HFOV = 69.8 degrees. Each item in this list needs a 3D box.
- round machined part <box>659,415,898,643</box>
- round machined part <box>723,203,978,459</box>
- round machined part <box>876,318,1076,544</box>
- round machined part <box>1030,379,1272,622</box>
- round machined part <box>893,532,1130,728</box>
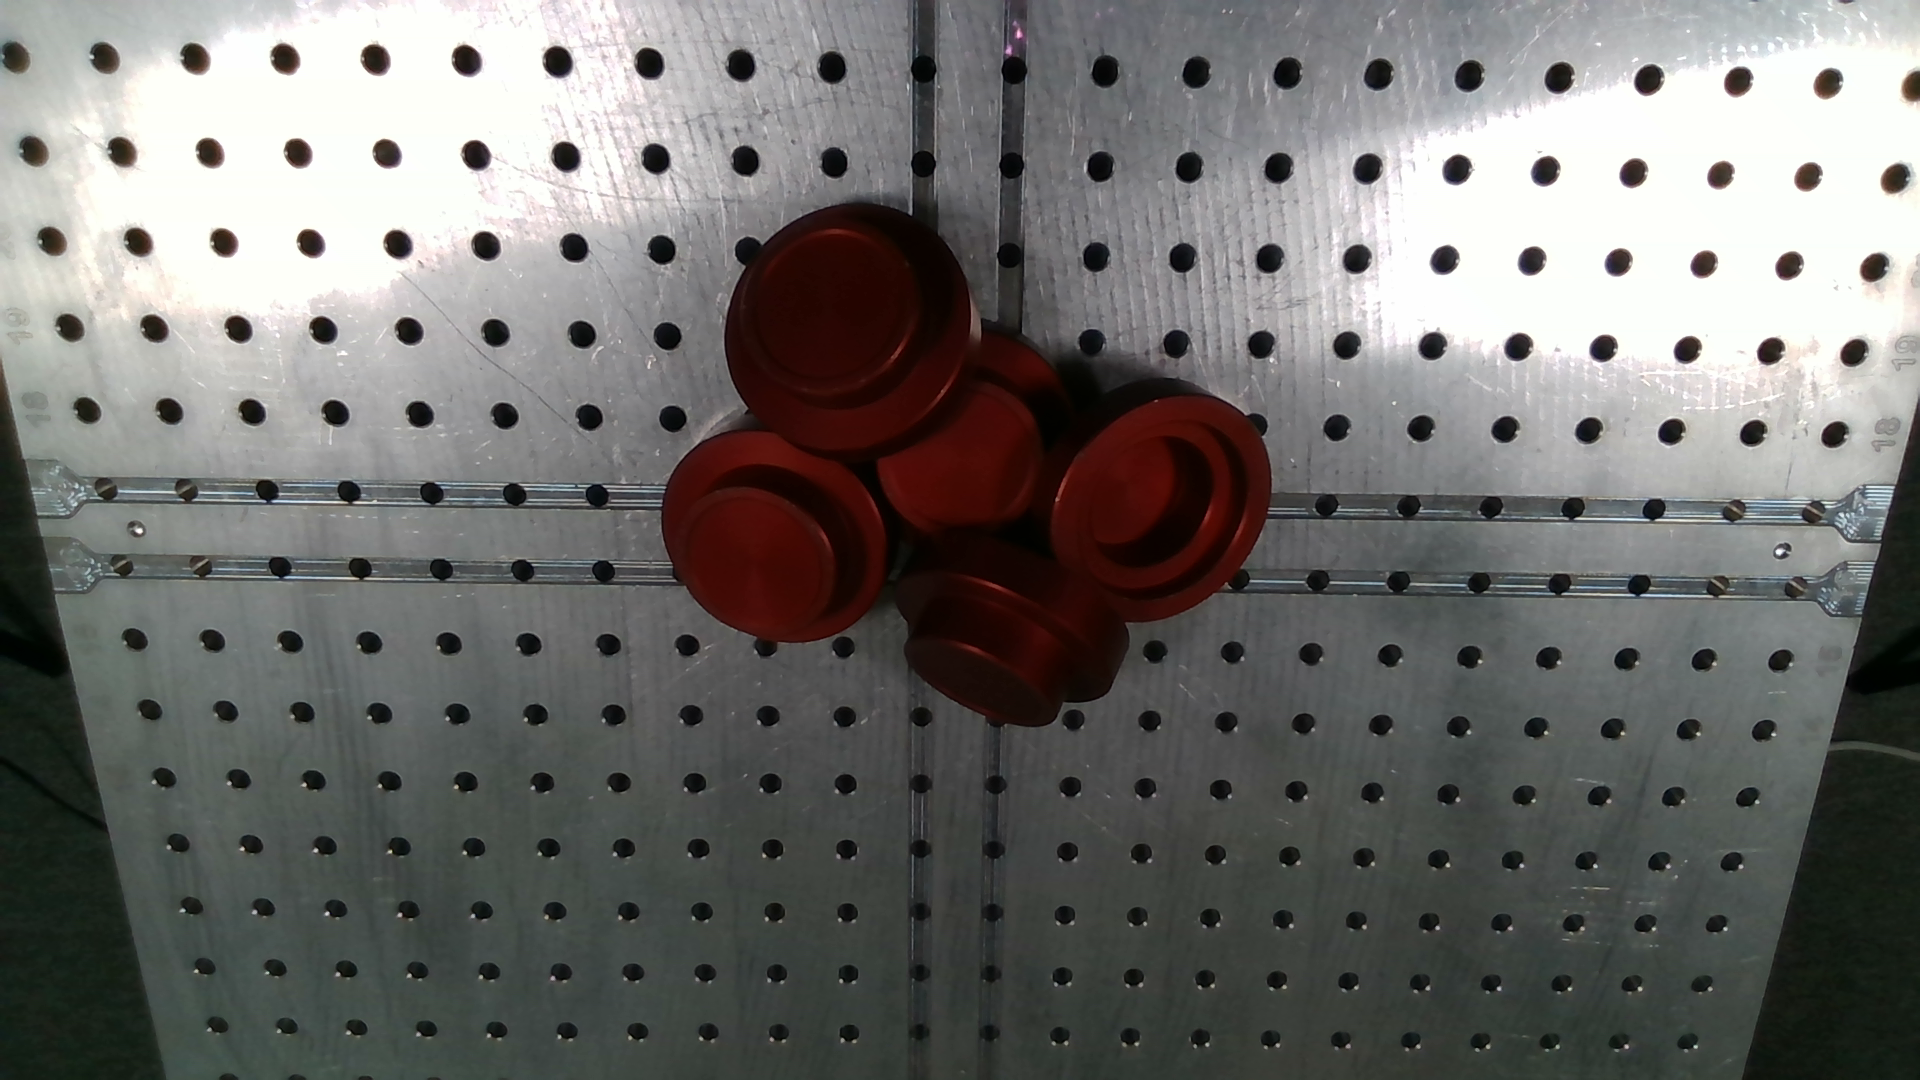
[{"bbox_3d":[-0.078,0.000,0.565,0.098,0.042,0.098,5,117,10],"label":"round machined part"},{"bbox_3d":[-0.044,-0.082,0.522,0.098,0.042,0.098,-2,80,12],"label":"round machined part"},{"bbox_3d":[0.000,-0.040,0.562,0.098,0.042,0.098,0,110,0],"label":"round machined part"},{"bbox_3d":[0.073,-0.020,0.559,0.098,0.042,0.098,-9,117,-19],"label":"round machined part"},{"bbox_3d":[0.016,0.042,0.562,0.098,0.098,0.042,32,66,-11],"label":"round machined part"}]
